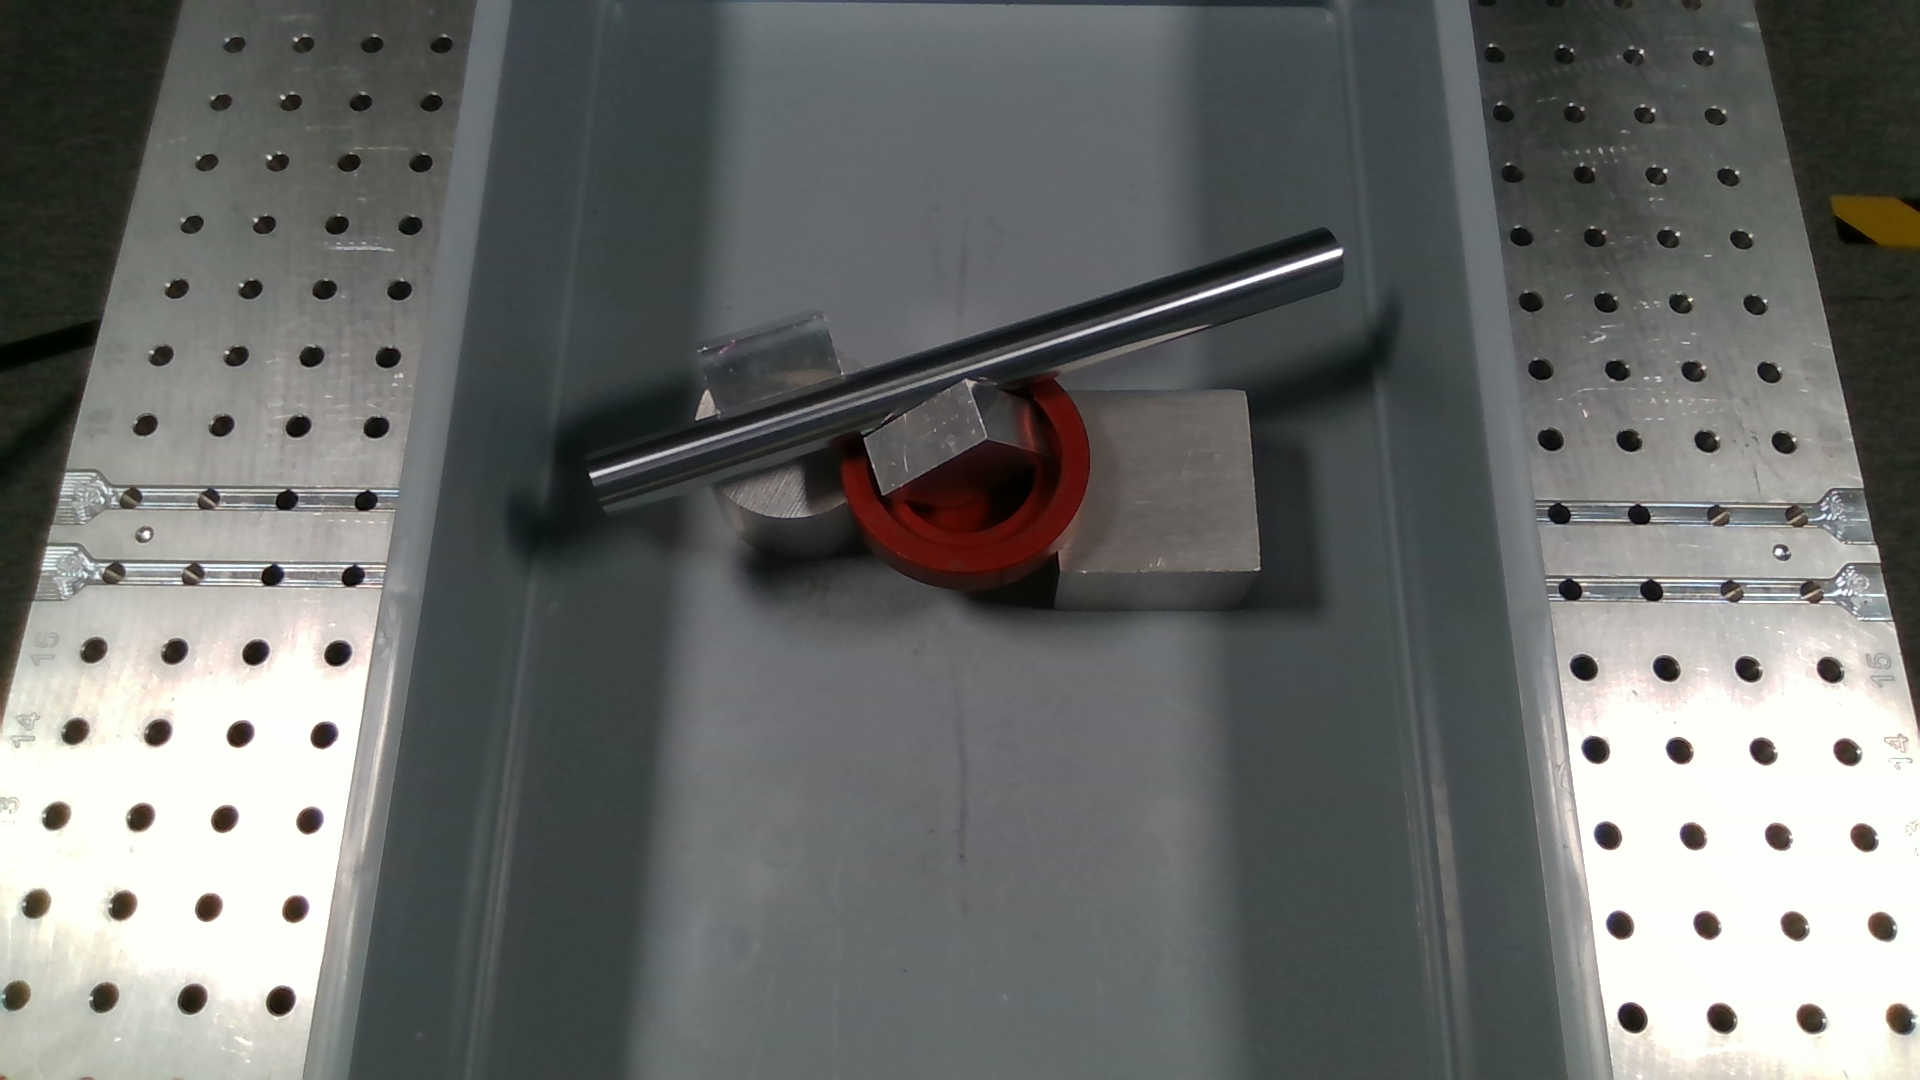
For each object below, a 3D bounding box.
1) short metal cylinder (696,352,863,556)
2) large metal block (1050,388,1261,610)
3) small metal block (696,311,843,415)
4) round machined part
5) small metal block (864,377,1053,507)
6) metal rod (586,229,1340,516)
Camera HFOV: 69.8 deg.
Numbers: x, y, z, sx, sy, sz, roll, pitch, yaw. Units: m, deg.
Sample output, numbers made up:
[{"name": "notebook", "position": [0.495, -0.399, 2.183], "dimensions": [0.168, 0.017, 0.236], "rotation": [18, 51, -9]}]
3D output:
[{"name": "short metal cylinder", "position": [-0.069, -0.037, 0.588], "dimensions": [0.080, 0.050, 0.080], "rotation": [0, 70, 0]}, {"name": "large metal block", "position": [0.078, -0.016, 0.578], "dimensions": [0.080, 0.050, 0.080], "rotation": [0, 70, 0]}, {"name": "small metal block", "position": [-0.076, -0.071, 0.544], "dimensions": [0.050, 0.050, 0.025], "rotation": [-18, 104, -7]}, {"name": "round machined part", "position": [0.002, -0.025, 0.556], "dimensions": [0.098, 0.042, 0.098], "rotation": [0, 70, 0]}, {"name": "small metal block", "position": [0.000, -0.036, 0.536], "dimensions": [0.050, 0.050, 0.025], "rotation": [-27, 73, 27]}, {"name": "metal rod", "position": [0.005, -0.067, 0.537], "dimensions": [0.300, 0.025, 0.025], "rotation": [-18, 71, -6]}]
